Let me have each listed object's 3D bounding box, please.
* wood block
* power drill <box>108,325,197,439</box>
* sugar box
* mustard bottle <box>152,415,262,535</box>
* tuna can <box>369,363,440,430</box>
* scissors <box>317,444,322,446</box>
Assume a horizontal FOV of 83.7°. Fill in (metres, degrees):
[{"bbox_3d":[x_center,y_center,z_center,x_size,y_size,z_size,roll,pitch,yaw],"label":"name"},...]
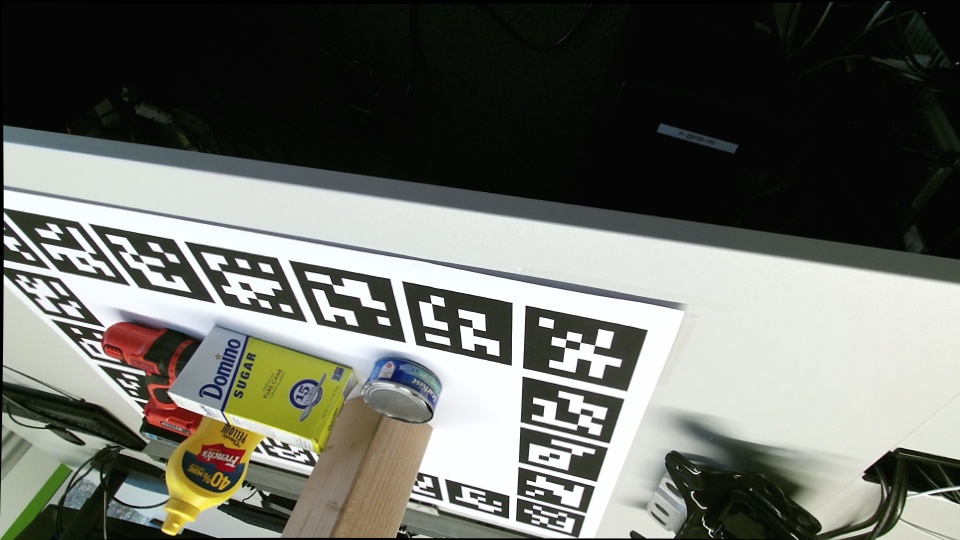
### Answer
[{"bbox_3d":[-0.146,0.262,0.631,0.091,0.205,0.090,-13,126,30],"label":"wood block"},{"bbox_3d":[-0.389,0.165,0.716,0.185,0.057,0.187,19,129,1],"label":"power drill"},{"bbox_3d":[-0.255,0.137,0.618,0.177,0.092,0.045,19,139,3],"label":"sugar box"},{"bbox_3d":[-0.357,0.249,0.703,0.058,0.191,0.096,-25,119,36],"label":"mustard bottle"},{"bbox_3d":[-0.089,0.143,0.598,0.086,0.033,0.086,11,135,11],"label":"tuna can"},{"bbox_3d":[-0.202,0.263,0.774,0.203,0.016,0.088,11,139,9],"label":"scissors"}]
